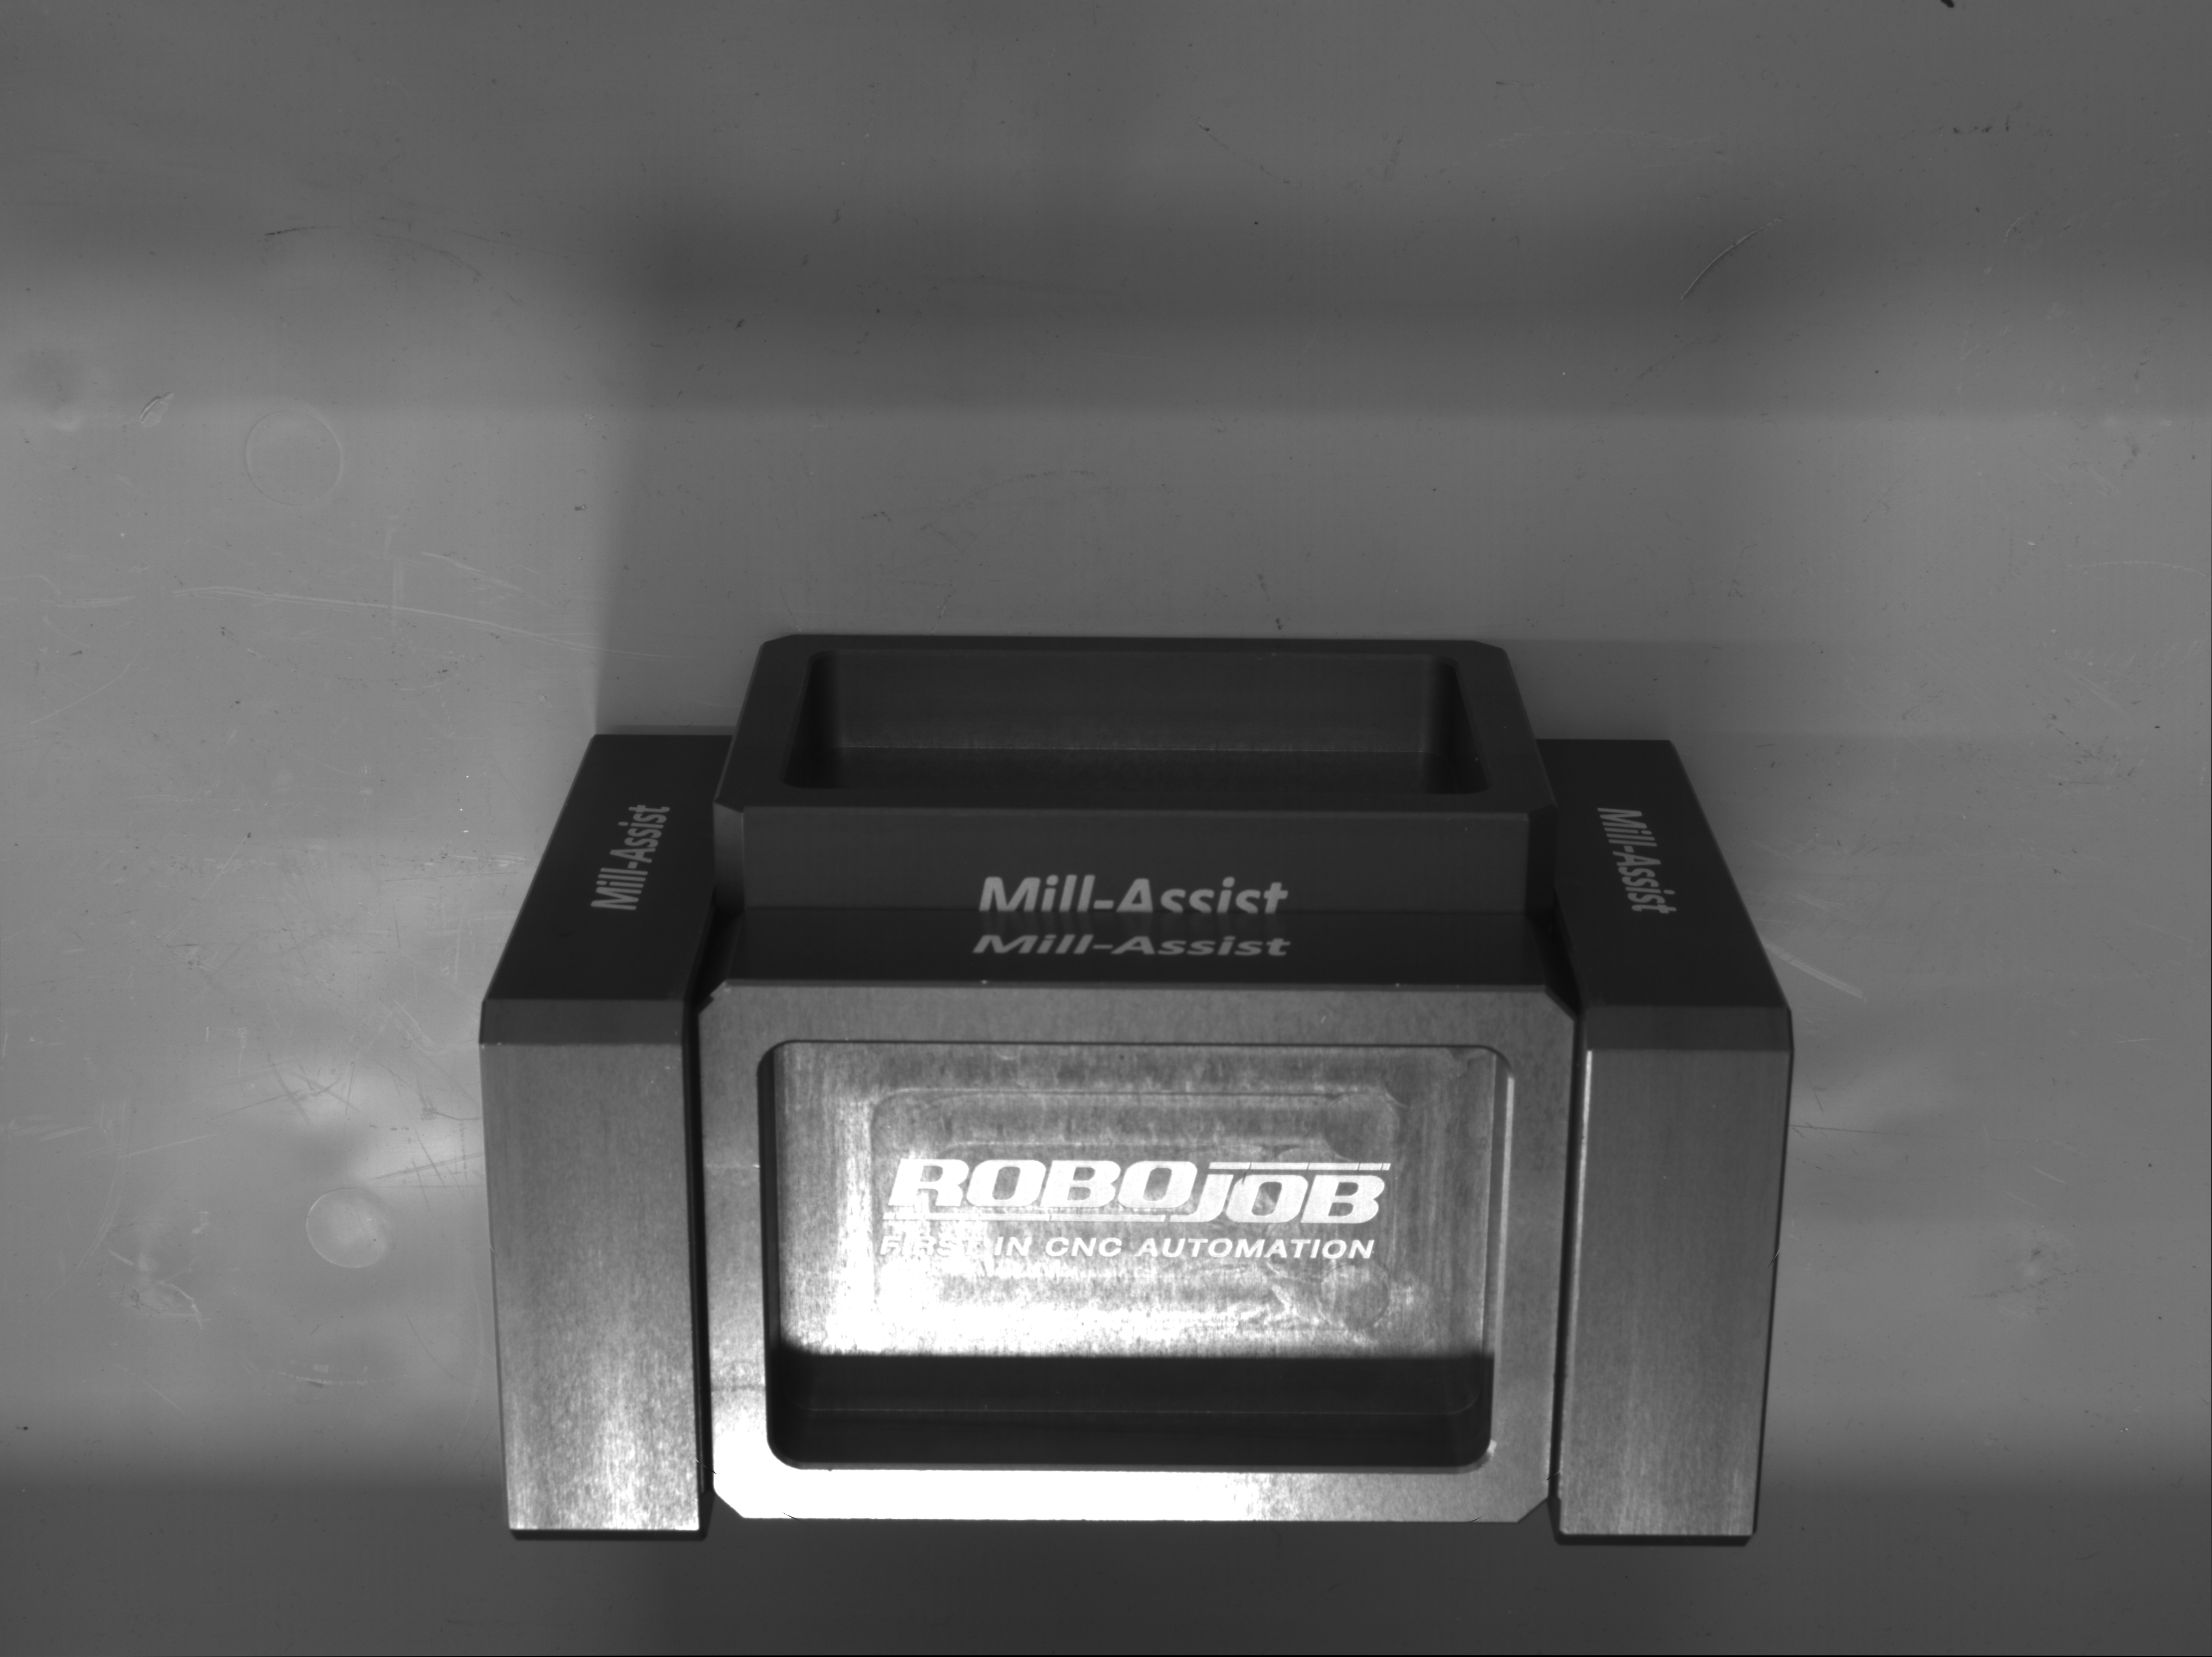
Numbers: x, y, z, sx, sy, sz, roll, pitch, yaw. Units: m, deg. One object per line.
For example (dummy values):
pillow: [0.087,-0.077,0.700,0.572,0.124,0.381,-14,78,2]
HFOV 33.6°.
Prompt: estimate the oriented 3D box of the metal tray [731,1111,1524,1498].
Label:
metal tray: [0.004,0.081,0.635,0.130,0.090,0.030,0,109,0]

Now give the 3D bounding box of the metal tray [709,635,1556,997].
metal tray: [0.005,-0.004,0.605,0.130,0.090,0.030,0,111,0]

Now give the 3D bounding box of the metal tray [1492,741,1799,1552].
metal tray: [0.085,0.048,0.603,0.030,0.130,0.090,1,110,0]

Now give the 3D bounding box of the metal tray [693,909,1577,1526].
metal tray: [0.004,0.060,0.565,0.130,0.030,0.090,1,110,0]

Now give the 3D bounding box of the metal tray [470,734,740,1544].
metal tray: [-0.077,0.047,0.603,0.030,0.130,0.090,0,110,0]
